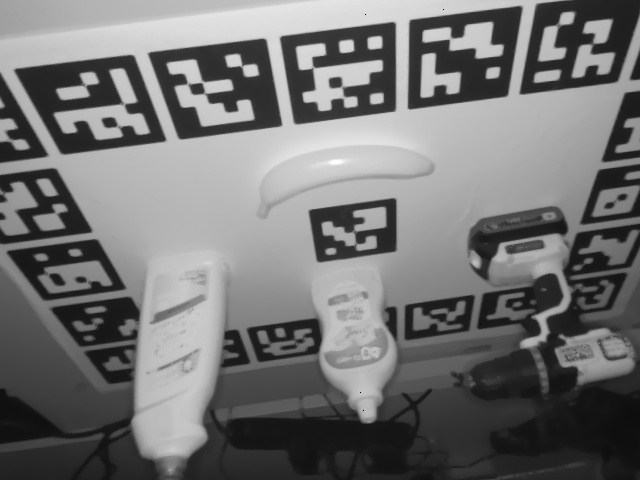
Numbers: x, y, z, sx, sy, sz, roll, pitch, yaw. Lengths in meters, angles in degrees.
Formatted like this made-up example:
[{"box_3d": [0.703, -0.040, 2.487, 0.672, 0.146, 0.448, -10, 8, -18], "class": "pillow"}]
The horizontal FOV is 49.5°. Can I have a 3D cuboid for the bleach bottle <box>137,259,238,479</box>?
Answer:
[{"box_3d": [-0.141, 0.135, 0.759, 0.103, 0.252, 0.067, -1, 137, -6], "class": "bleach bottle"}]

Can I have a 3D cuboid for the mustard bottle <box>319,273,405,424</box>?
[{"box_3d": [0.052, 0.130, 0.832, 0.096, 0.193, 0.058, -11, 137, 7], "class": "mustard bottle"}]

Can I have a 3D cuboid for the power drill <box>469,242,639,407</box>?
[{"box_3d": [0.238, 0.097, 0.781, 0.185, 0.188, 0.057, -14, 137, 1], "class": "power drill"}]

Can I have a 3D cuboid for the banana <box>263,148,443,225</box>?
[{"box_3d": [0.029, -0.061, 0.721, 0.197, 0.039, 0.074, -13, 135, 1], "class": "banana"}]
